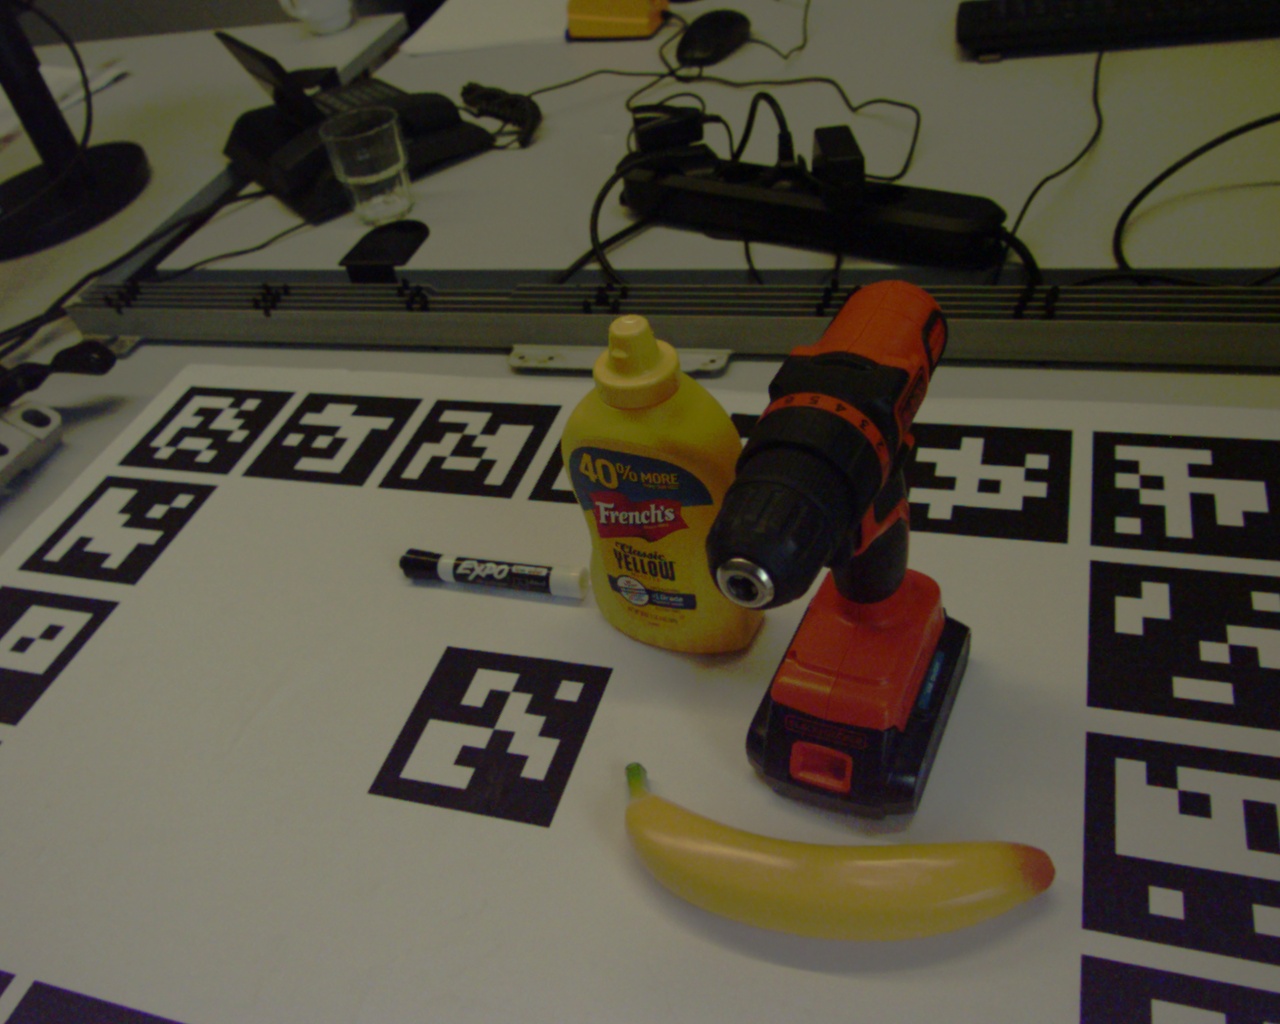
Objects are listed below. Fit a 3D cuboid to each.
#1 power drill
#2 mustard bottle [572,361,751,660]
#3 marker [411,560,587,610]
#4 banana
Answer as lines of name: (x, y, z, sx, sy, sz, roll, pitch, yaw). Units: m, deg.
power drill: (0.093, 0.038, 0.538, 0.058, 0.186, 0.183, 16, 47, 26)
mustard bottle: (0.012, -0.001, 0.627, 0.097, 0.190, 0.058, 13, 48, 25)
marker: (-0.093, 0.046, 0.731, 0.122, 0.019, 0.019, 5, 46, 20)
banana: (0.075, 0.167, 0.545, 0.200, 0.038, 0.074, 9, 48, 25)
